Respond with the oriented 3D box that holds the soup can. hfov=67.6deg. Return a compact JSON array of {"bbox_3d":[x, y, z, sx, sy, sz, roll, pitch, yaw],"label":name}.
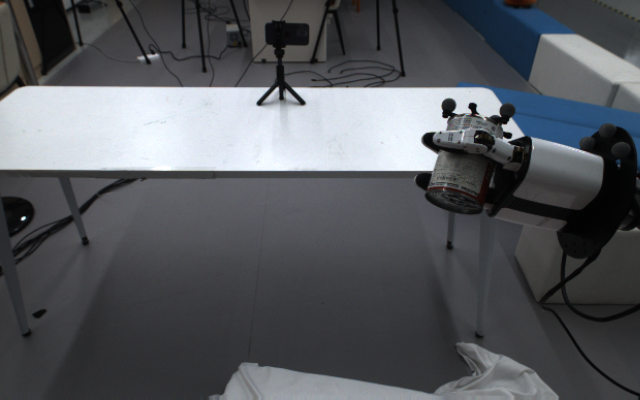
[{"bbox_3d":[0.173,-0.043,0.575,0.067,0.067,0.101,15,75,18],"label":"soup can"}]
